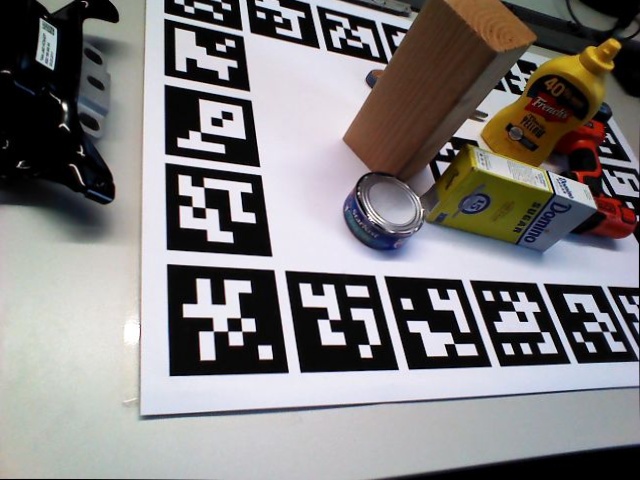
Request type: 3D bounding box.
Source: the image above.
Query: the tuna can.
[{"bbox_3d":[0.073,-0.033,0.563,0.085,0.034,0.085,12,57,-19],"label":"tuna can"}]

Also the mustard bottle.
[{"bbox_3d":[0.317,-0.176,0.679,0.096,0.193,0.058,46,54,5],"label":"mustard bottle"}]

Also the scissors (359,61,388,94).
[{"bbox_3d":[0.151,-0.200,0.716,0.202,0.016,0.087,6,55,-22],"label":"scissors"}]

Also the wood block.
[{"bbox_3d":[0.123,-0.160,0.571,0.090,0.208,0.090,-27,76,-34],"label":"wood block"}]

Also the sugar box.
[{"bbox_3d":[0.233,-0.041,0.612,0.176,0.093,0.045,15,52,-18],"label":"sugar box"}]

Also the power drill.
[{"bbox_3d":[0.345,-0.100,0.720,0.184,0.058,0.186,16,63,-16],"label":"power drill"}]
